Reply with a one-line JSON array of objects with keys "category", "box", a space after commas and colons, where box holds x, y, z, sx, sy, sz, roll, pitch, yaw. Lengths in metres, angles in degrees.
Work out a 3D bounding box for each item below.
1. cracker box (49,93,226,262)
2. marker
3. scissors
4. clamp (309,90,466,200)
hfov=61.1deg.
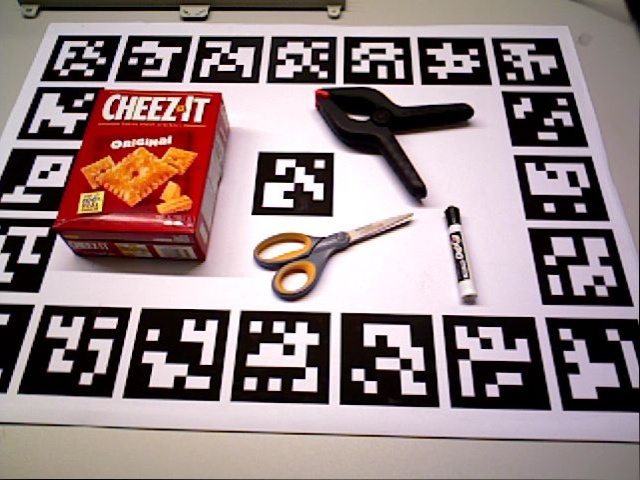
[{"category": "cracker box", "box": [-0.212, -0.082, 0.662, 0.164, 0.073, 0.210, 2, 59, 3]}, {"category": "marker", "box": [0.159, 0.010, 0.623, 0.019, 0.020, 0.119, -2, 59, 0]}, {"category": "scissors", "box": [0.017, 0.004, 0.633, 0.200, 0.016, 0.087, -23, 60, -14]}, {"category": "clamp", "box": [0.072, -0.152, 0.729, 0.203, 0.037, 0.162, 28, 63, 16]}]
